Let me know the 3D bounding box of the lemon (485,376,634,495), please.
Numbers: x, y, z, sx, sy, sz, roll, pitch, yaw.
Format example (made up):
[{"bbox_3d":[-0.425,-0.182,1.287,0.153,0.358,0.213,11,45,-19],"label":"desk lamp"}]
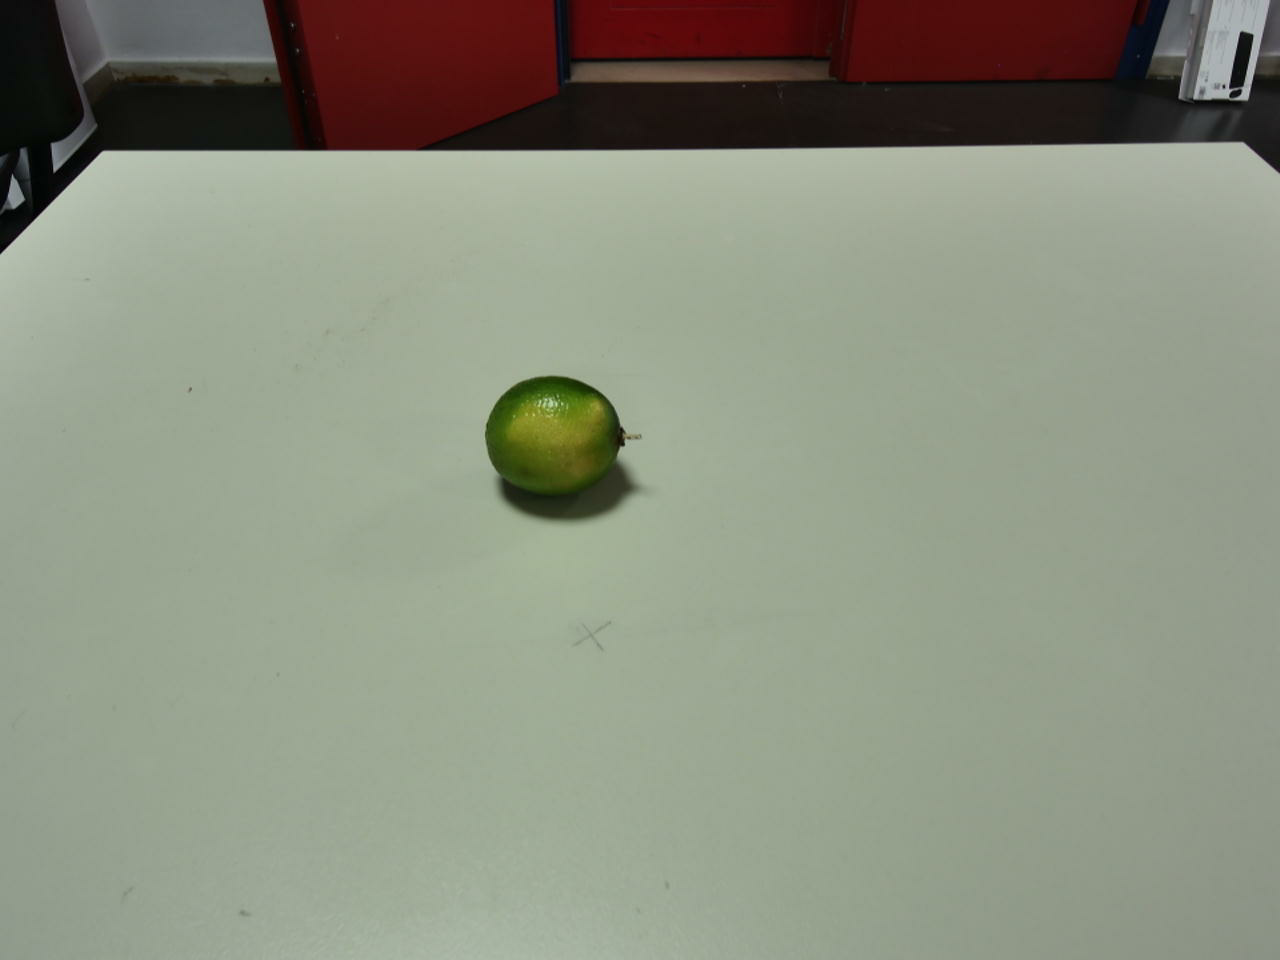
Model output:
[{"bbox_3d":[-0.037,-0.019,0.426,0.054,0.050,0.055,-28,46,-30],"label":"lemon"}]
